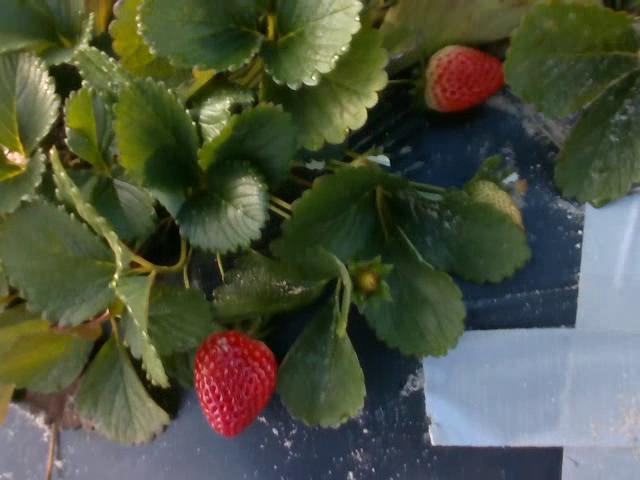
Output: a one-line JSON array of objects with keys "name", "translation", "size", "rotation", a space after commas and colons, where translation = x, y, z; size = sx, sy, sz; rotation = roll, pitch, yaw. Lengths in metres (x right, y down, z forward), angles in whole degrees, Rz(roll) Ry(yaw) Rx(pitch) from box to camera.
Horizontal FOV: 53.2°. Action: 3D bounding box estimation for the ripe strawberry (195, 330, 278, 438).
[{"name": "ripe strawberry", "translation": [-0.018, 0.030, 0.128], "size": [0.018, 0.023, 0.020], "rotation": [-7, -22, 28]}]
